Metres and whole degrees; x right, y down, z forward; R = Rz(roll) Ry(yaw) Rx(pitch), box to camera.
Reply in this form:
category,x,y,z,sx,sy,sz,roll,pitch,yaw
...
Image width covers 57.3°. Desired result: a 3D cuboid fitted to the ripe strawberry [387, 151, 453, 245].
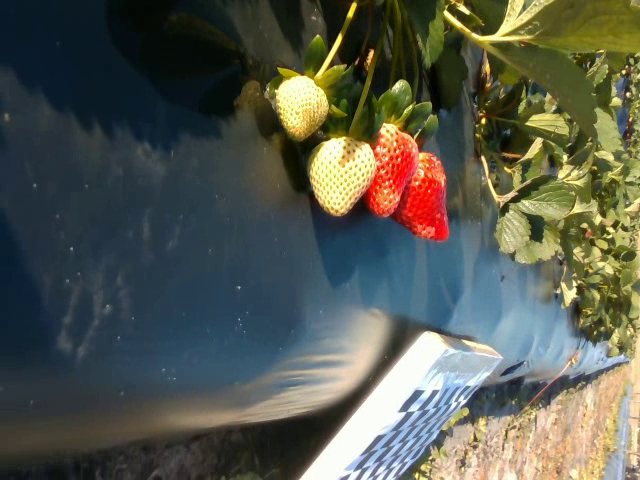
category,x,y,z,sx,sy,sz,roll,pitch,yaw
ripe strawberry,0.061,-0.024,0.352,0.056,0.067,0.051,-32,6,-28

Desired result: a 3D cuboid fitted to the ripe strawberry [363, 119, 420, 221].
category,x,y,z,sx,sy,sz,roll,pitch,yaw
ripe strawberry,0.034,-0.036,0.307,0.043,0.061,0.051,1,-28,7
